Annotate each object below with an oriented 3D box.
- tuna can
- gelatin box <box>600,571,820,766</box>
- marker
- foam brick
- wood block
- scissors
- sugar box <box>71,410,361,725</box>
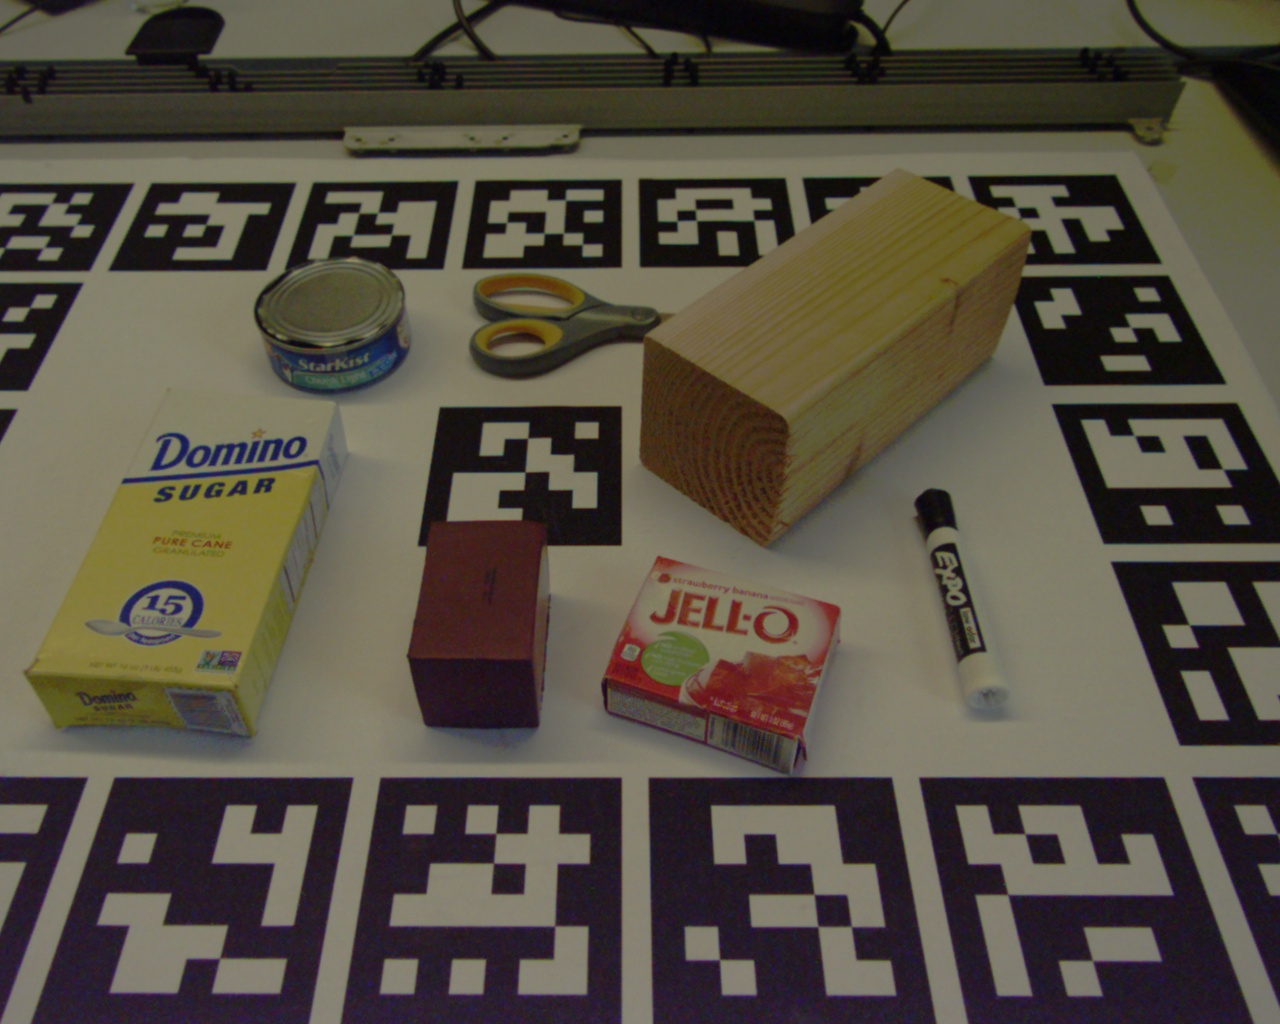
[{"bbox_3d":[-0.185,-0.106,0.701,0.086,0.033,0.086,-1,50,0],"label":"tuna can"},{"bbox_3d":[0.034,0.073,0.550,0.090,0.030,0.073,14,52,13],"label":"gelatin box"},{"bbox_3d":[0.144,0.044,0.576,0.019,0.019,0.121,1,52,1],"label":"marker"},{"bbox_3d":[-0.069,0.057,0.547,0.053,0.051,0.078,1,50,2],"label":"foam brick"},{"bbox_3d":[0.105,-0.078,0.642,0.091,0.090,0.205,36,58,28],"label":"wood block"},{"bbox_3d":[-0.012,-0.105,0.712,0.203,0.016,0.088,4,50,8],"label":"scissors"},{"bbox_3d":[-0.211,0.023,0.591,0.093,0.045,0.177,3,50,3],"label":"sugar box"}]
